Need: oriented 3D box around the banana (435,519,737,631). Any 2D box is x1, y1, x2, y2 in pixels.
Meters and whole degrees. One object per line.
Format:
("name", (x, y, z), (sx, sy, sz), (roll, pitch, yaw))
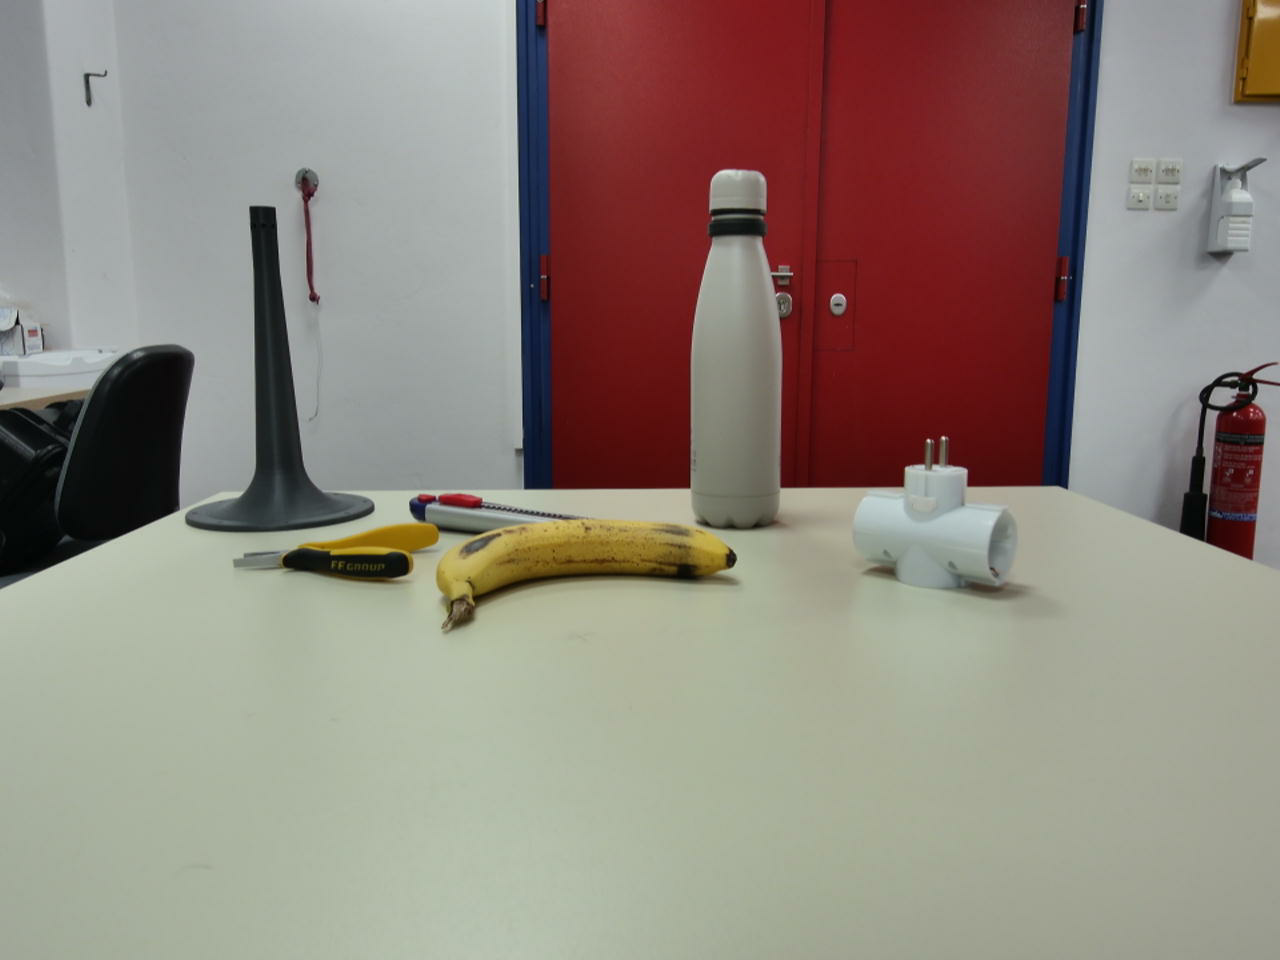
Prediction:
("banana", (-0.041, 0.049, 0.609), (0.186, 0.038, 0.097), (-5, 9, -28))
